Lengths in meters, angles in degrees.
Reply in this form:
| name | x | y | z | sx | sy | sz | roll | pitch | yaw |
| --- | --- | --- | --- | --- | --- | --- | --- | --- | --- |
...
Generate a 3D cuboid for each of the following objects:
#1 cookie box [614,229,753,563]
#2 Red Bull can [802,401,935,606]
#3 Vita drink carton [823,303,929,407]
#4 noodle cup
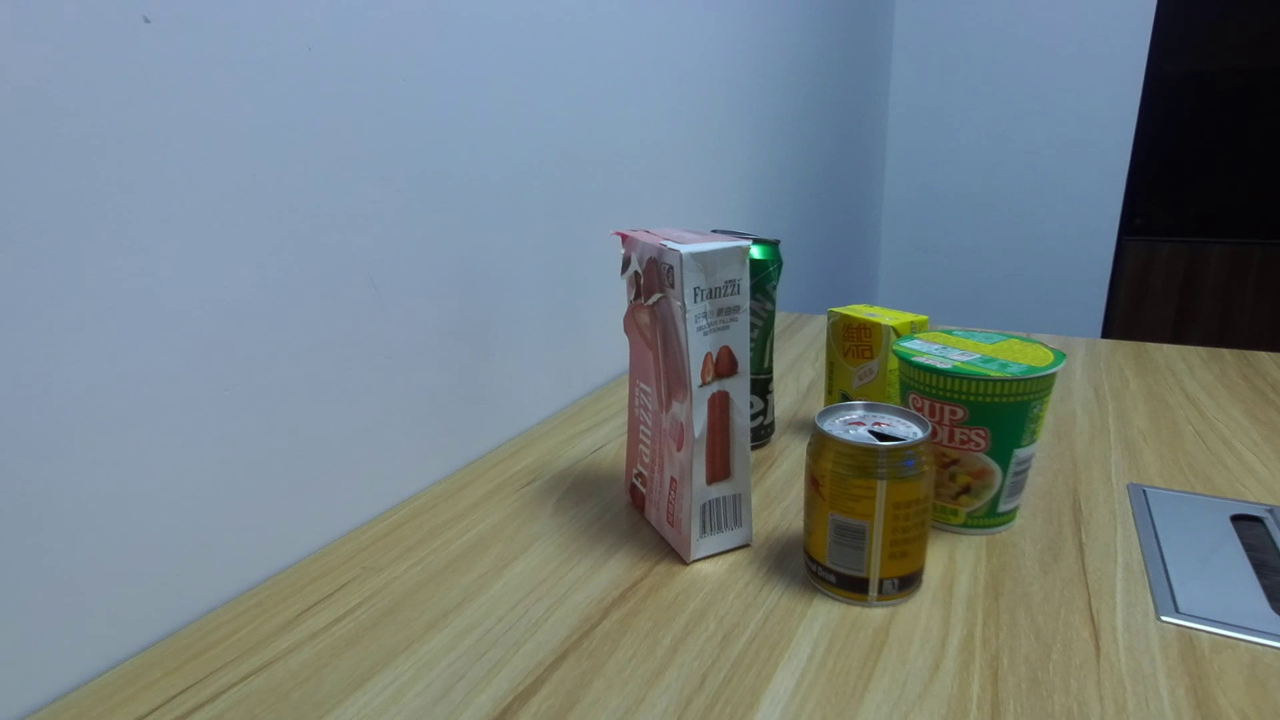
| name | x | y | z | sx | sy | sz | roll | pitch | yaw |
| --- | --- | --- | --- | --- | --- | --- | --- | --- | --- |
| cookie box | 0.025 | 0.017 | 0.427 | 0.059 | 0.186 | 0.104 | -6 | 17 | -20 |
| Red Bull can | 0.123 | 0.075 | 0.385 | 0.068 | 0.093 | 0.068 | -2 | 18 | 1 |
| Vita drink carton | 0.177 | 0.015 | 0.547 | 0.043 | 0.109 | 0.076 | -11 | 19 | -28 |
| noodle cup | 0.206 | 0.046 | 0.445 | 0.097 | 0.110 | 0.097 | -2 | 16 | 1 |
